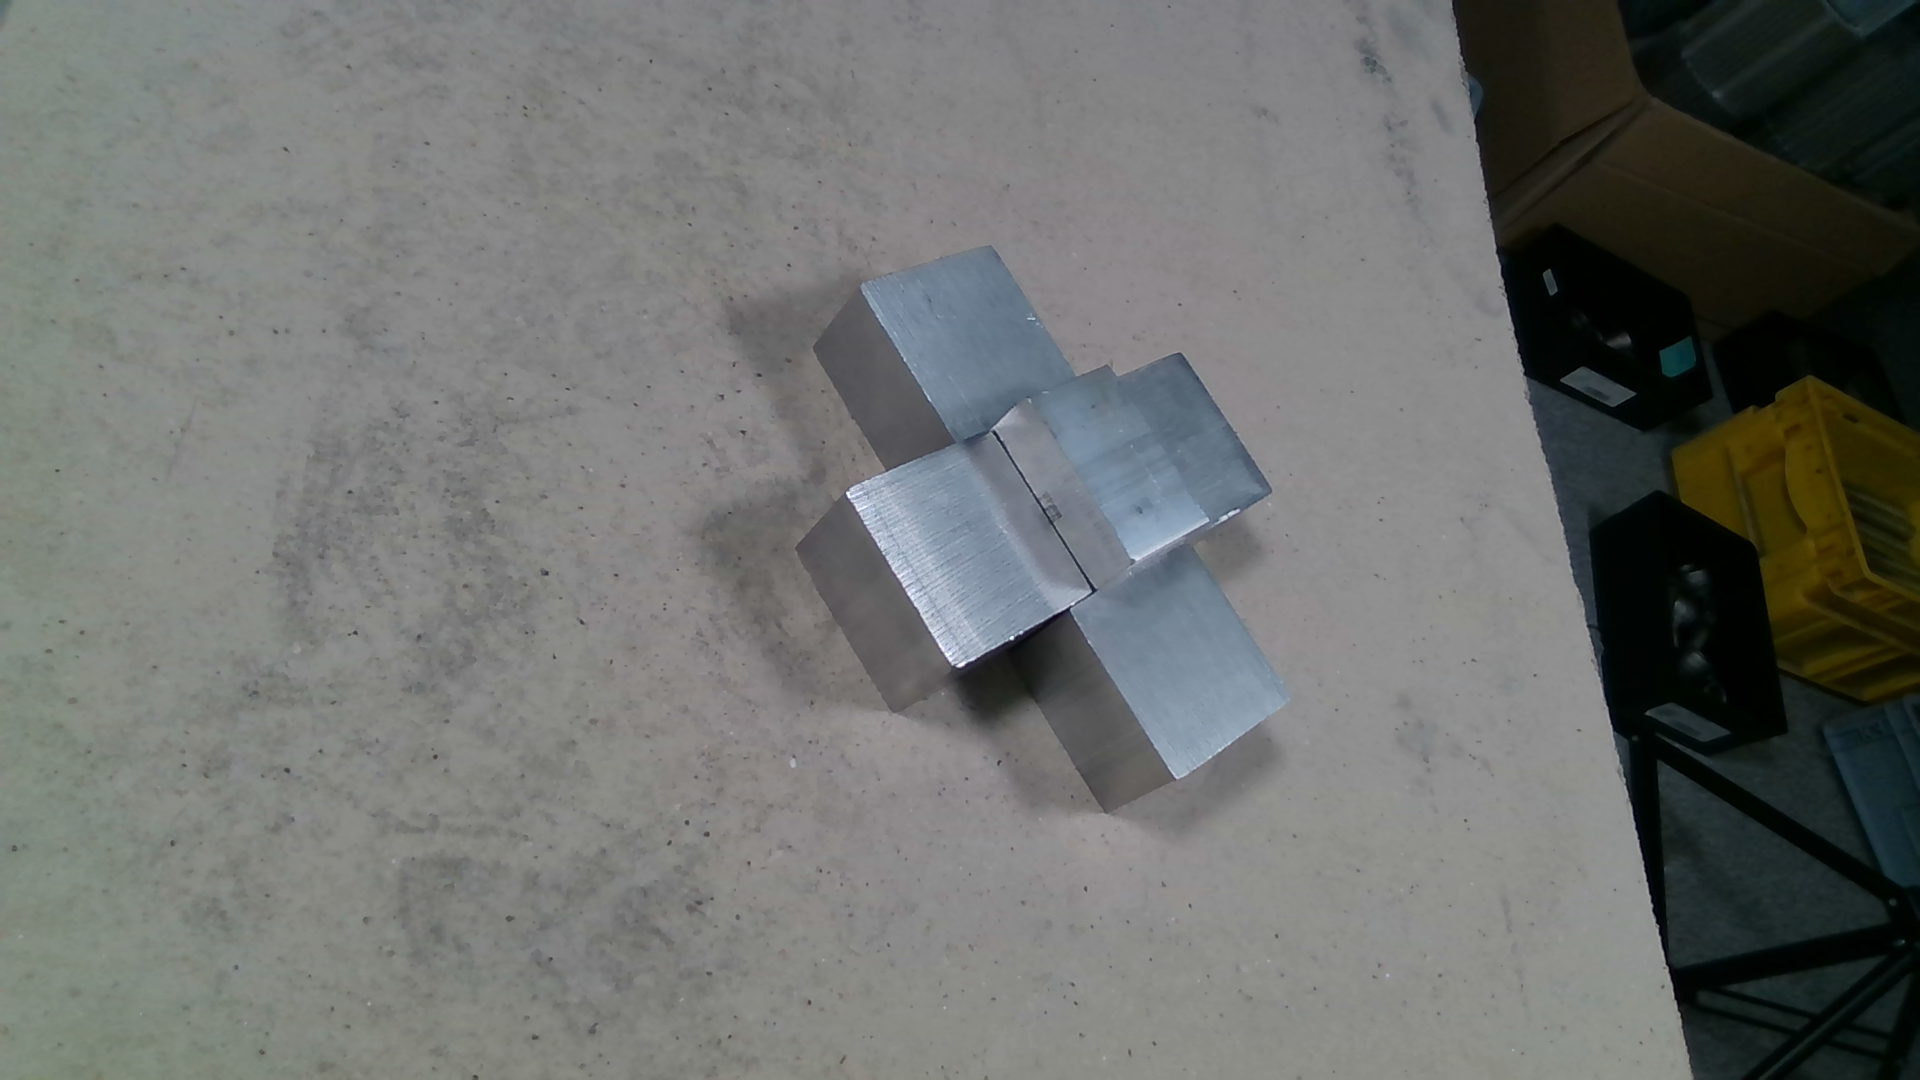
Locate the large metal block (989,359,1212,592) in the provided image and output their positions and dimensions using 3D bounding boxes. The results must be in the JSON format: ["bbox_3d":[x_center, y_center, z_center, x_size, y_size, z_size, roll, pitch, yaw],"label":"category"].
[{"bbox_3d":[0.046,-0.017,0.588,0.050,0.080,0.080,-26,80,-38],"label":"large metal block"}]

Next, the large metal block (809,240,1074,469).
[{"bbox_3d":[-0.005,-0.077,0.607,0.080,0.050,0.080,-26,80,-38],"label":"large metal block"}]

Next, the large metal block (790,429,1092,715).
[{"bbox_3d":[-0.008,0.012,0.558,0.080,0.050,0.080,-26,80,-38],"label":"large metal block"}]

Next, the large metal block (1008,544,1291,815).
[{"bbox_3d":[0.080,0.057,0.588,0.080,0.050,0.080,-26,80,-38],"label":"large metal block"}]

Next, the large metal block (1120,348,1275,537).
[{"bbox_3d":[0.085,-0.033,0.639,0.080,0.050,0.080,-26,80,-38],"label":"large metal block"}]
